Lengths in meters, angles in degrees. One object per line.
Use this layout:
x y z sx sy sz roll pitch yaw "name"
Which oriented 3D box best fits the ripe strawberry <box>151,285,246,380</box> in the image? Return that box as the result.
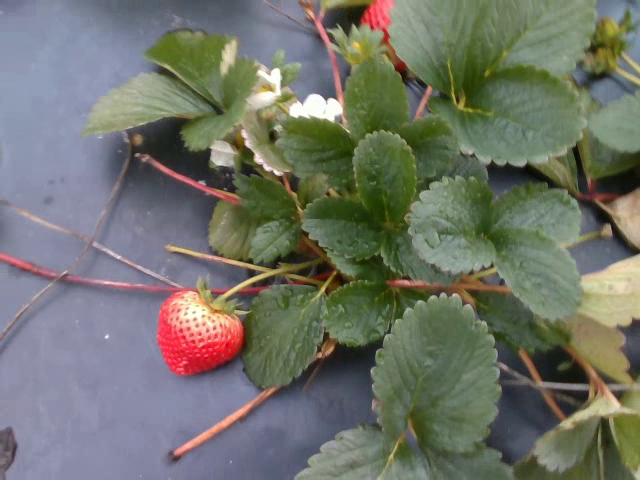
-0.084 0.064 0.391 0.061 0.065 0.050 20 16 -14 "ripe strawberry"
